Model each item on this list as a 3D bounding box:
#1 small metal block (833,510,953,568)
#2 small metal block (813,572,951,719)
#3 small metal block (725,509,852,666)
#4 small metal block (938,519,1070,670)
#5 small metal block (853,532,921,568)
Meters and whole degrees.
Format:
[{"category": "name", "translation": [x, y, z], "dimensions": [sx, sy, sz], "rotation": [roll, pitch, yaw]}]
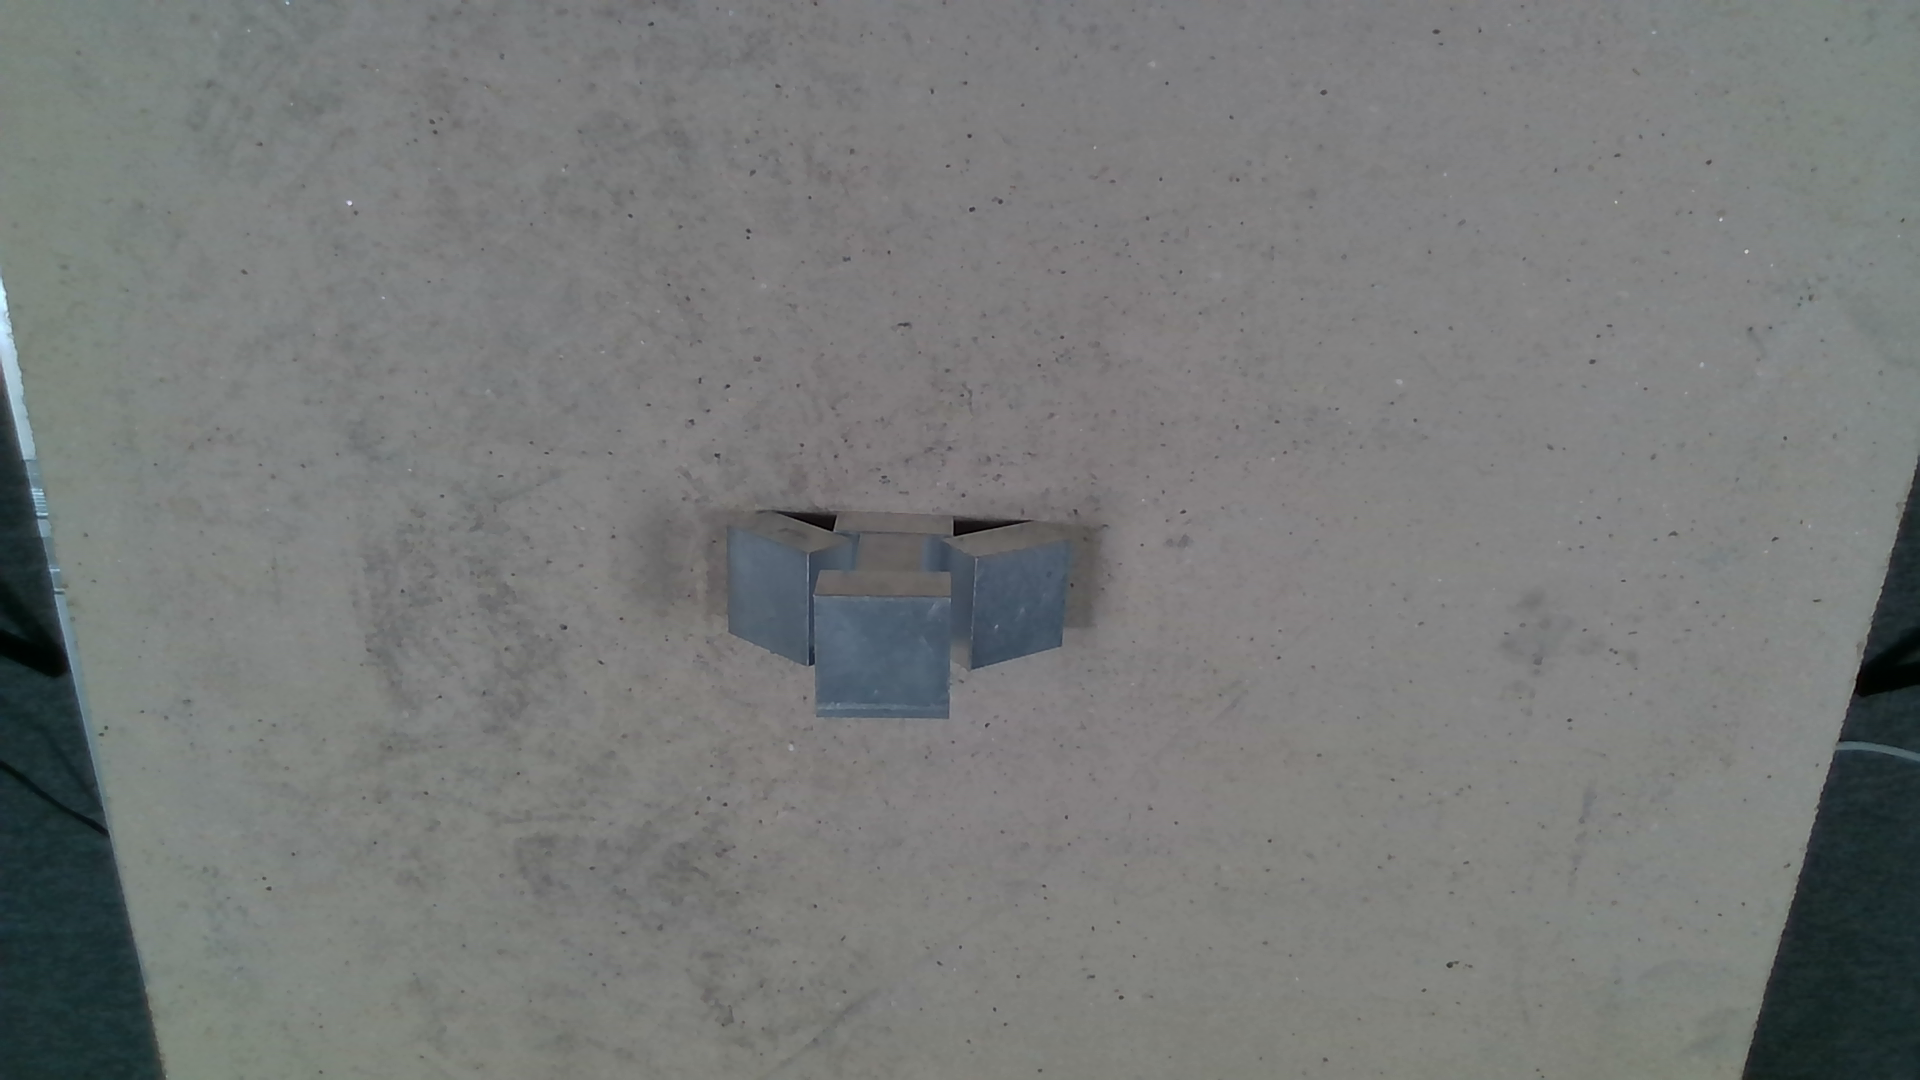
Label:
[{"category": "small metal block", "translation": [-0.029, 0.016, 0.591], "dimensions": [0.050, 0.025, 0.050], "rotation": [2, 110, -1]}, {"category": "small metal block", "translation": [-0.029, 0.039, 0.519], "dimensions": [0.050, 0.025, 0.050], "rotation": [1, 110, 0]}, {"category": "small metal block", "translation": [-0.072, 0.019, 0.578], "dimensions": [0.050, 0.025, 0.050], "rotation": [18, 115, 37]}, {"category": "small metal block", "translation": [0.017, 0.022, 0.580], "dimensions": [0.050, 0.025, 0.050], "rotation": [-12, 114, -34]}, {"category": "small metal block", "translation": [-0.030, 0.029, 0.555], "dimensions": [0.025, 0.050, 0.050], "rotation": [2, 110, -1]}]
